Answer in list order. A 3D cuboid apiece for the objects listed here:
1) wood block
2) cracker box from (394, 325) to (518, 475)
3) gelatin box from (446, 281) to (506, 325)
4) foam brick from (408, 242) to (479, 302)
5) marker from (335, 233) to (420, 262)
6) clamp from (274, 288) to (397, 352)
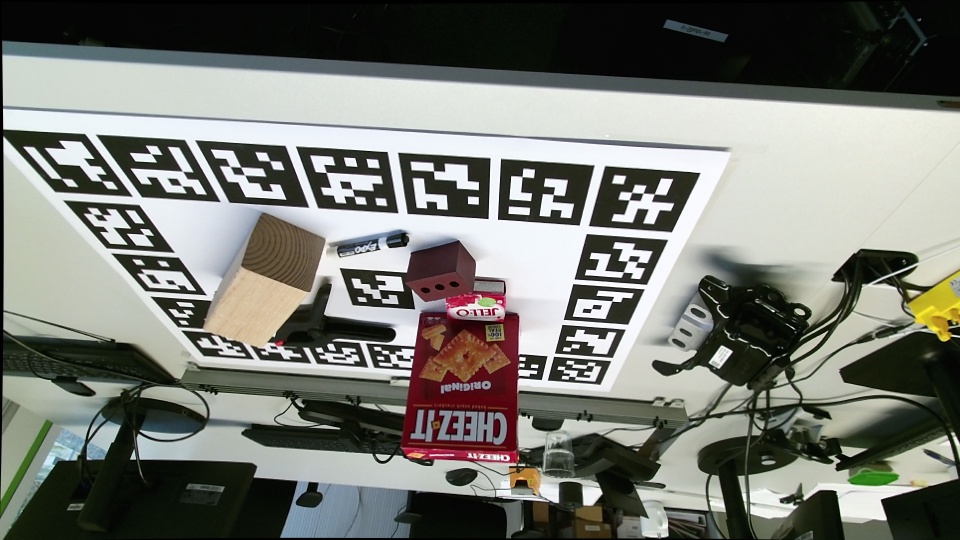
[{"bbox_3d":[-0.301,0.026,0.750,0.090,0.090,0.206,25,139,-26],"label":"wood block"},{"bbox_3d":[-0.028,0.188,0.811,0.165,0.212,0.072,2,142,6],"label":"cracker box"},{"bbox_3d":[-0.007,0.049,0.795,0.090,0.030,0.073,2,139,3],"label":"gelatin box"},{"bbox_3d":[-0.048,0.006,0.725,0.078,0.051,0.053,-14,136,21],"label":"foam brick"},{"bbox_3d":[-0.136,-0.030,0.713,0.121,0.019,0.020,-10,137,17],"label":"marker"},{"bbox_3d":[-0.262,0.105,0.880,0.203,0.036,0.166,-18,135,25],"label":"clamp"}]
